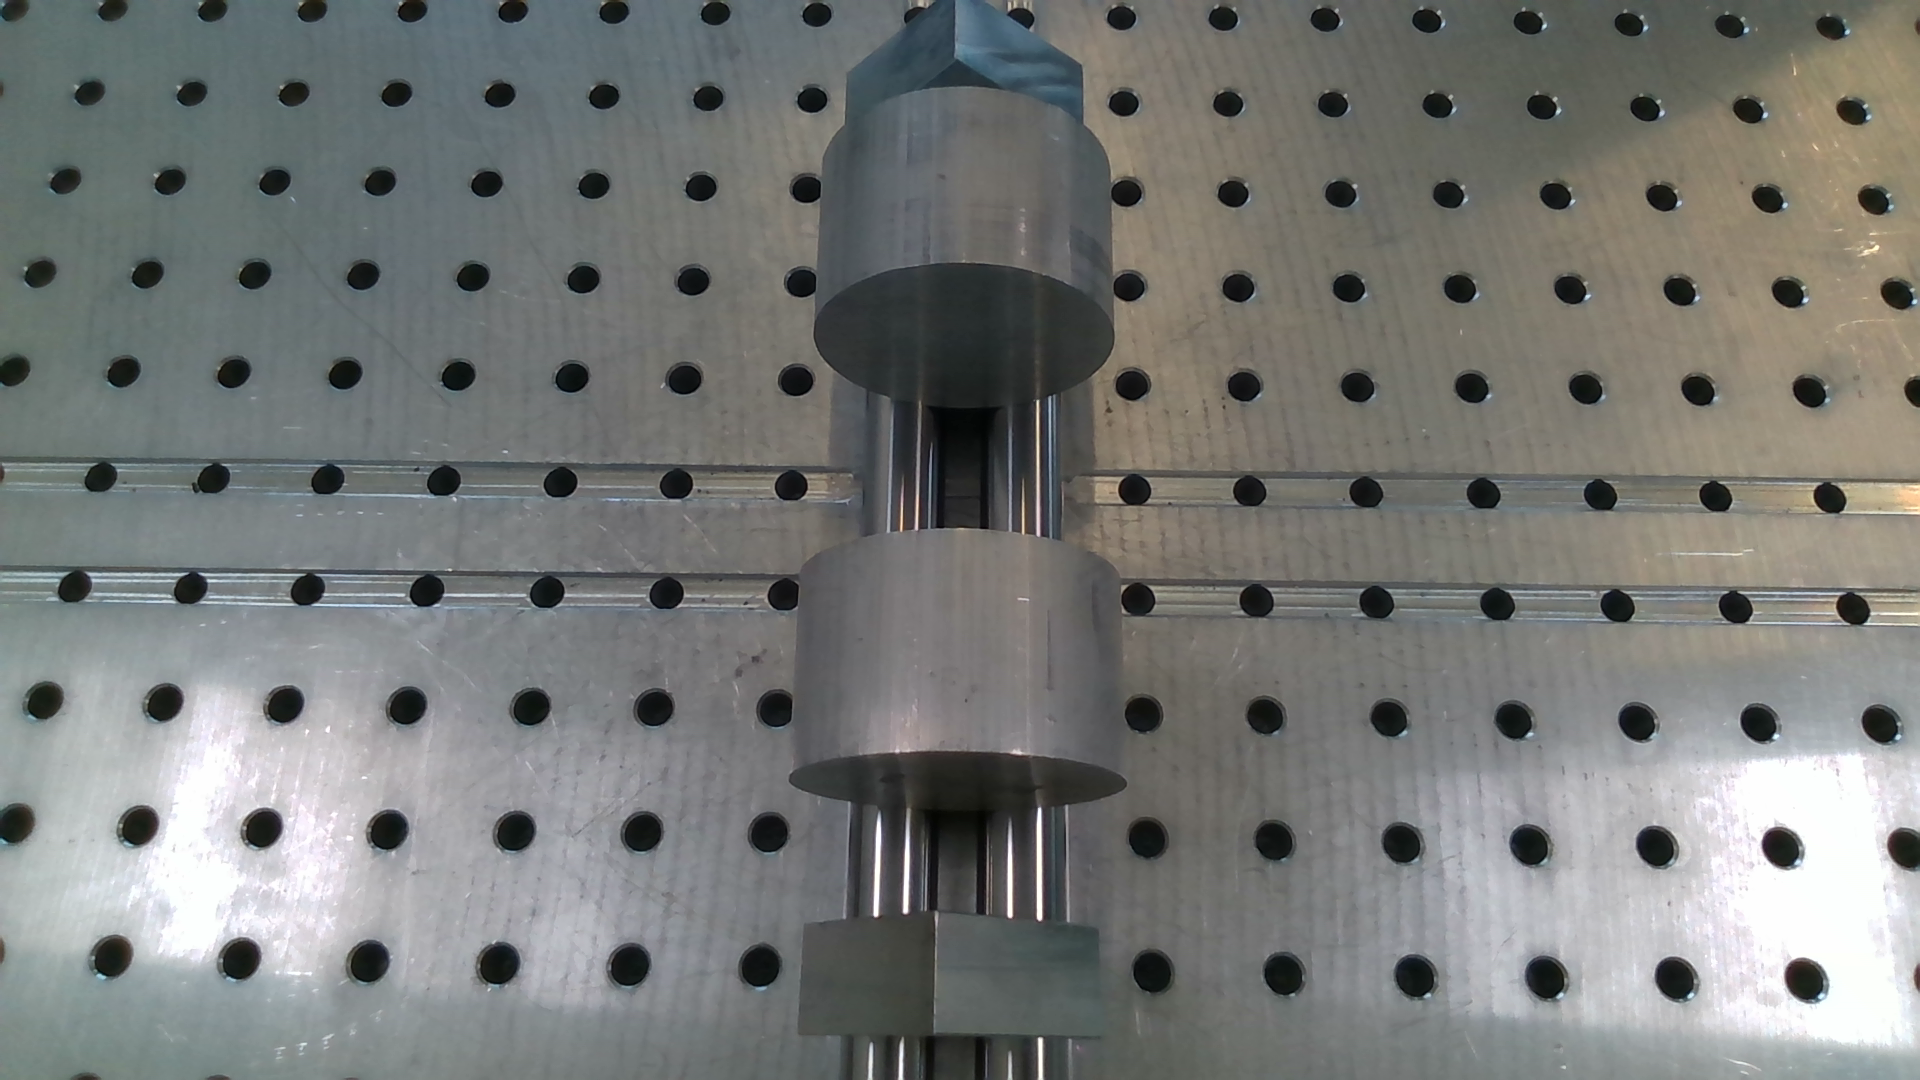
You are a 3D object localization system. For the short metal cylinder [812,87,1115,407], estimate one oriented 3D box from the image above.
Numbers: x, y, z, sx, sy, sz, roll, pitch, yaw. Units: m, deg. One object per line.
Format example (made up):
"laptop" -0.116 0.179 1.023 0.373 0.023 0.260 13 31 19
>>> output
"short metal cylinder" 0.001 -0.076 0.373 0.080 0.080 0.050 1 70 0

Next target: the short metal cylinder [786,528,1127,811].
"short metal cylinder" -0.001 0.034 0.334 0.080 0.080 0.050 1 70 0

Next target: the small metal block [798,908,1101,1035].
"small metal block" -0.003 0.103 0.324 0.050 0.050 0.025 17 64 -38

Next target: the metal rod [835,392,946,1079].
"metal rod" -0.017 0.001 0.398 0.025 0.025 0.299 1 71 0

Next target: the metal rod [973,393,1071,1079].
"metal rod" 0.018 0.003 0.397 0.025 0.025 0.299 1 71 0

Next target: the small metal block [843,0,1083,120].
"small metal block" 0.001 -0.129 0.407 0.050 0.050 0.025 18 64 -39
